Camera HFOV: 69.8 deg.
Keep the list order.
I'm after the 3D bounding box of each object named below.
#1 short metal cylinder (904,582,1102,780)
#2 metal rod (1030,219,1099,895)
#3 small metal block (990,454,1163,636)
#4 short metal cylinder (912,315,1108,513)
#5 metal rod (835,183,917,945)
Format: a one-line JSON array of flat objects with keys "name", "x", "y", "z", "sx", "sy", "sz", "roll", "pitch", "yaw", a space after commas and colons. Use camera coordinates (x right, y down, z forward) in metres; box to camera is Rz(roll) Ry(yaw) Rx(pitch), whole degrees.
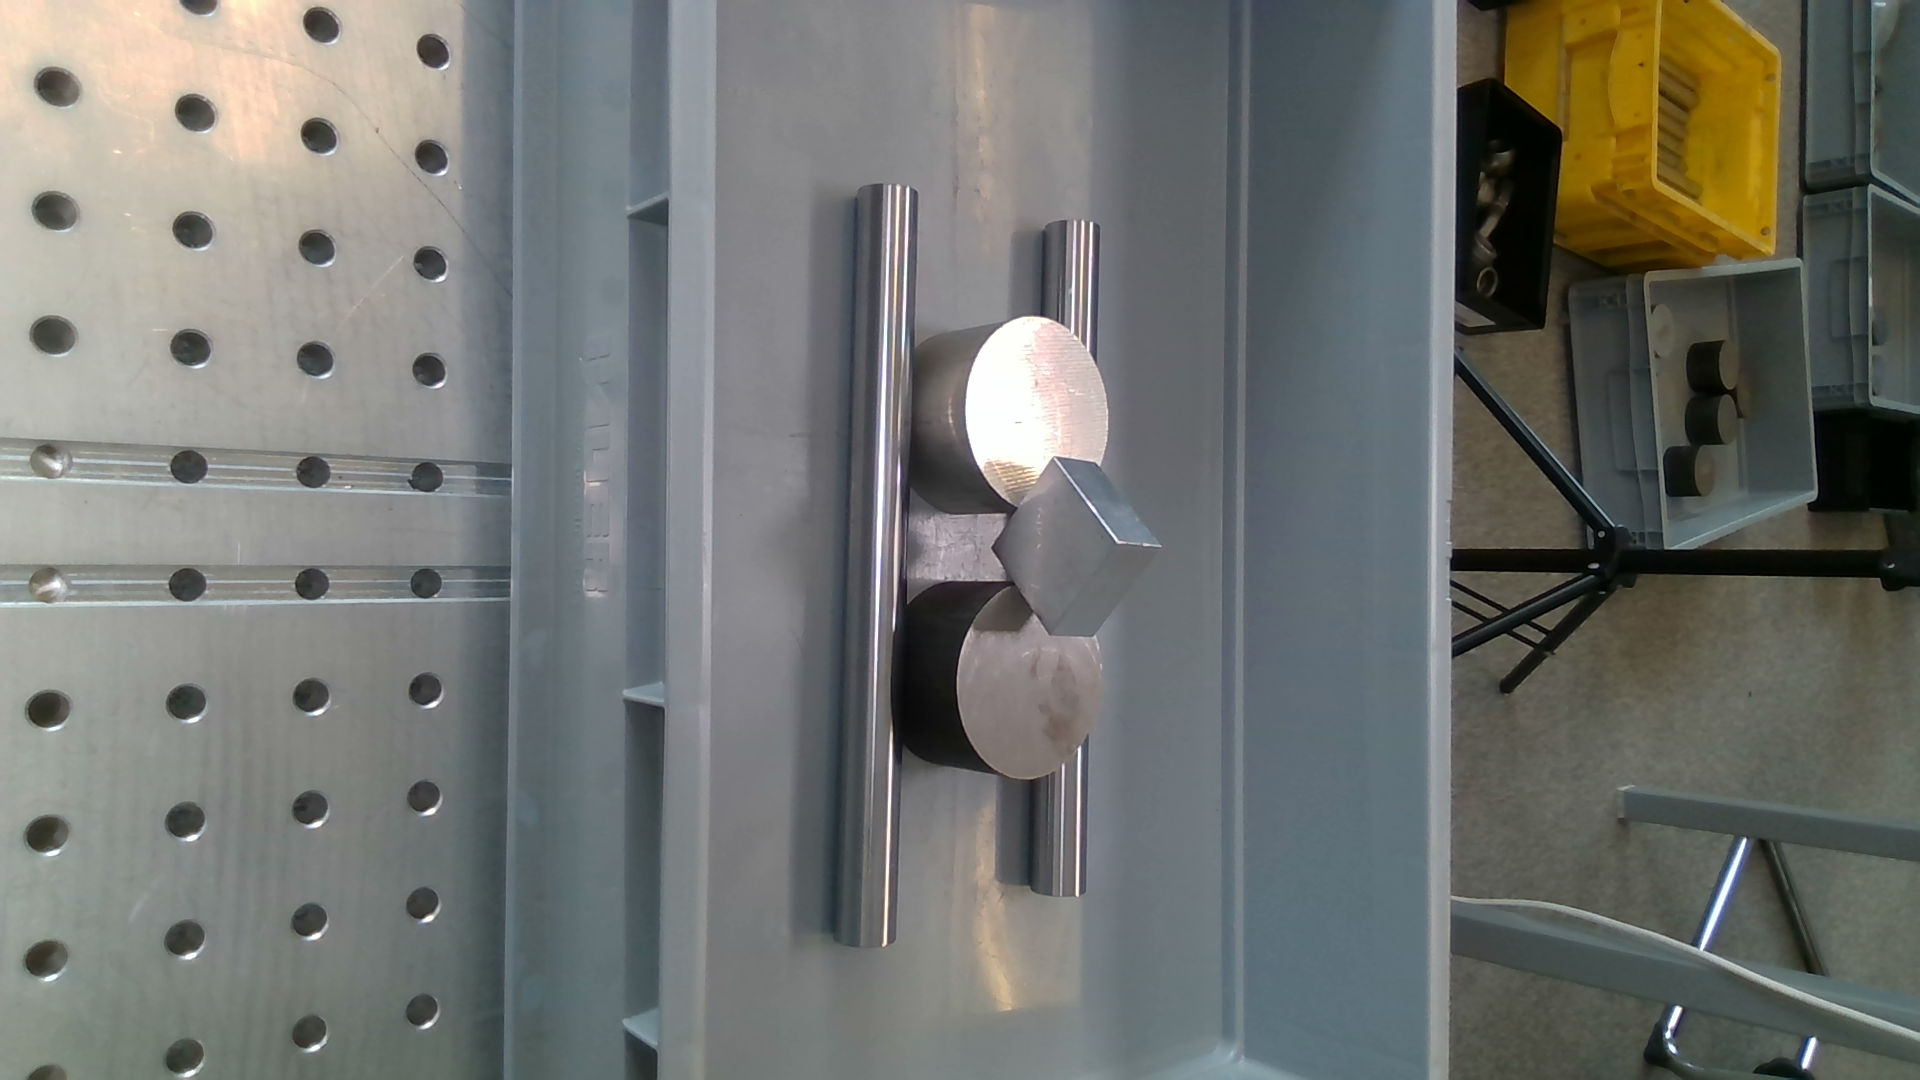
[{"name": "short metal cylinder", "x": 0.013, "y": 0.057, "z": 0.578, "sx": 0.080, "sy": 0.050, "sz": 0.080, "roll": 0, "pitch": 90, "yaw": -40}, {"name": "metal rod", "x": 0.047, "y": 0.007, "z": 0.622, "sx": 0.025, "sy": 0.025, "sz": 0.300, "roll": 2, "pitch": 89, "yaw": -40}, {"name": "small metal block", "x": 0.045, "y": 0.002, "z": 0.544, "sx": 0.025, "sy": 0.050, "sz": 0.050, "roll": 4, "pitch": 130, "yaw": -41}, {"name": "short metal cylinder", "x": 0.017, "y": -0.051, "z": 0.580, "sx": 0.080, "sy": 0.050, "sz": 0.080, "roll": 0, "pitch": 90, "yaw": -40}, {"name": "metal rod", "x": -0.034, "y": 0.009, "z": 0.554, "sx": 0.025, "sy": 0.025, "sz": 0.300, "roll": 3, "pitch": 88, "yaw": -40}]
